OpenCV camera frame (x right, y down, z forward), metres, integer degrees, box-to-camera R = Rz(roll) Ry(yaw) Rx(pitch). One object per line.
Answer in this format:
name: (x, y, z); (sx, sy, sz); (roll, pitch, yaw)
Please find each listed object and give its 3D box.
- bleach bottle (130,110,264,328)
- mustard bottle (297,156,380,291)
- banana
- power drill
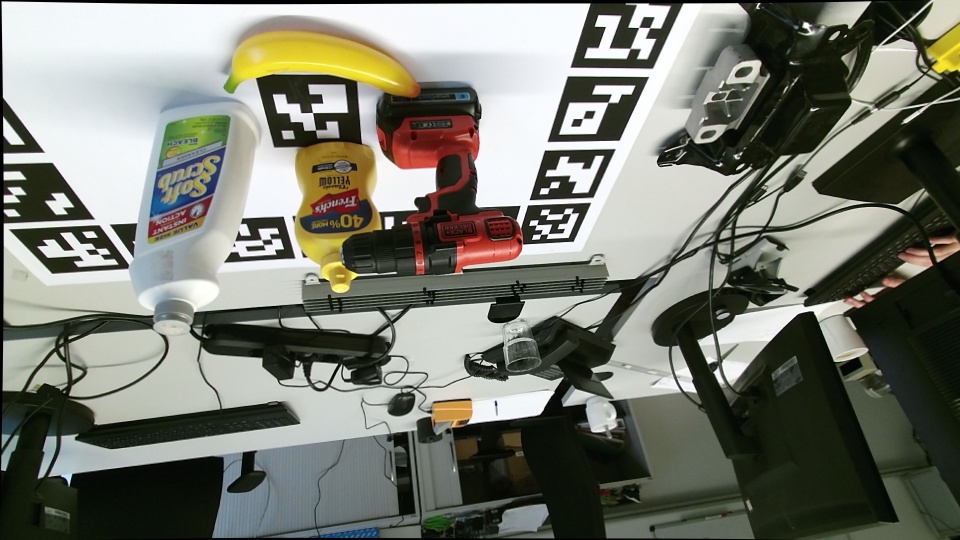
bleach bottle: (-0.285, -0.056, 0.544); (0.103, 0.249, 0.068); (-10, 144, -3)
mustard bottle: (-0.165, -0.049, 0.624); (0.096, 0.190, 0.058); (-4, 145, -9)
banana: (-0.169, -0.192, 0.550); (0.198, 0.038, 0.074); (-4, 141, -13)
power drill: (-0.056, -0.077, 0.582); (0.185, 0.186, 0.057); (-4, 152, -5)
